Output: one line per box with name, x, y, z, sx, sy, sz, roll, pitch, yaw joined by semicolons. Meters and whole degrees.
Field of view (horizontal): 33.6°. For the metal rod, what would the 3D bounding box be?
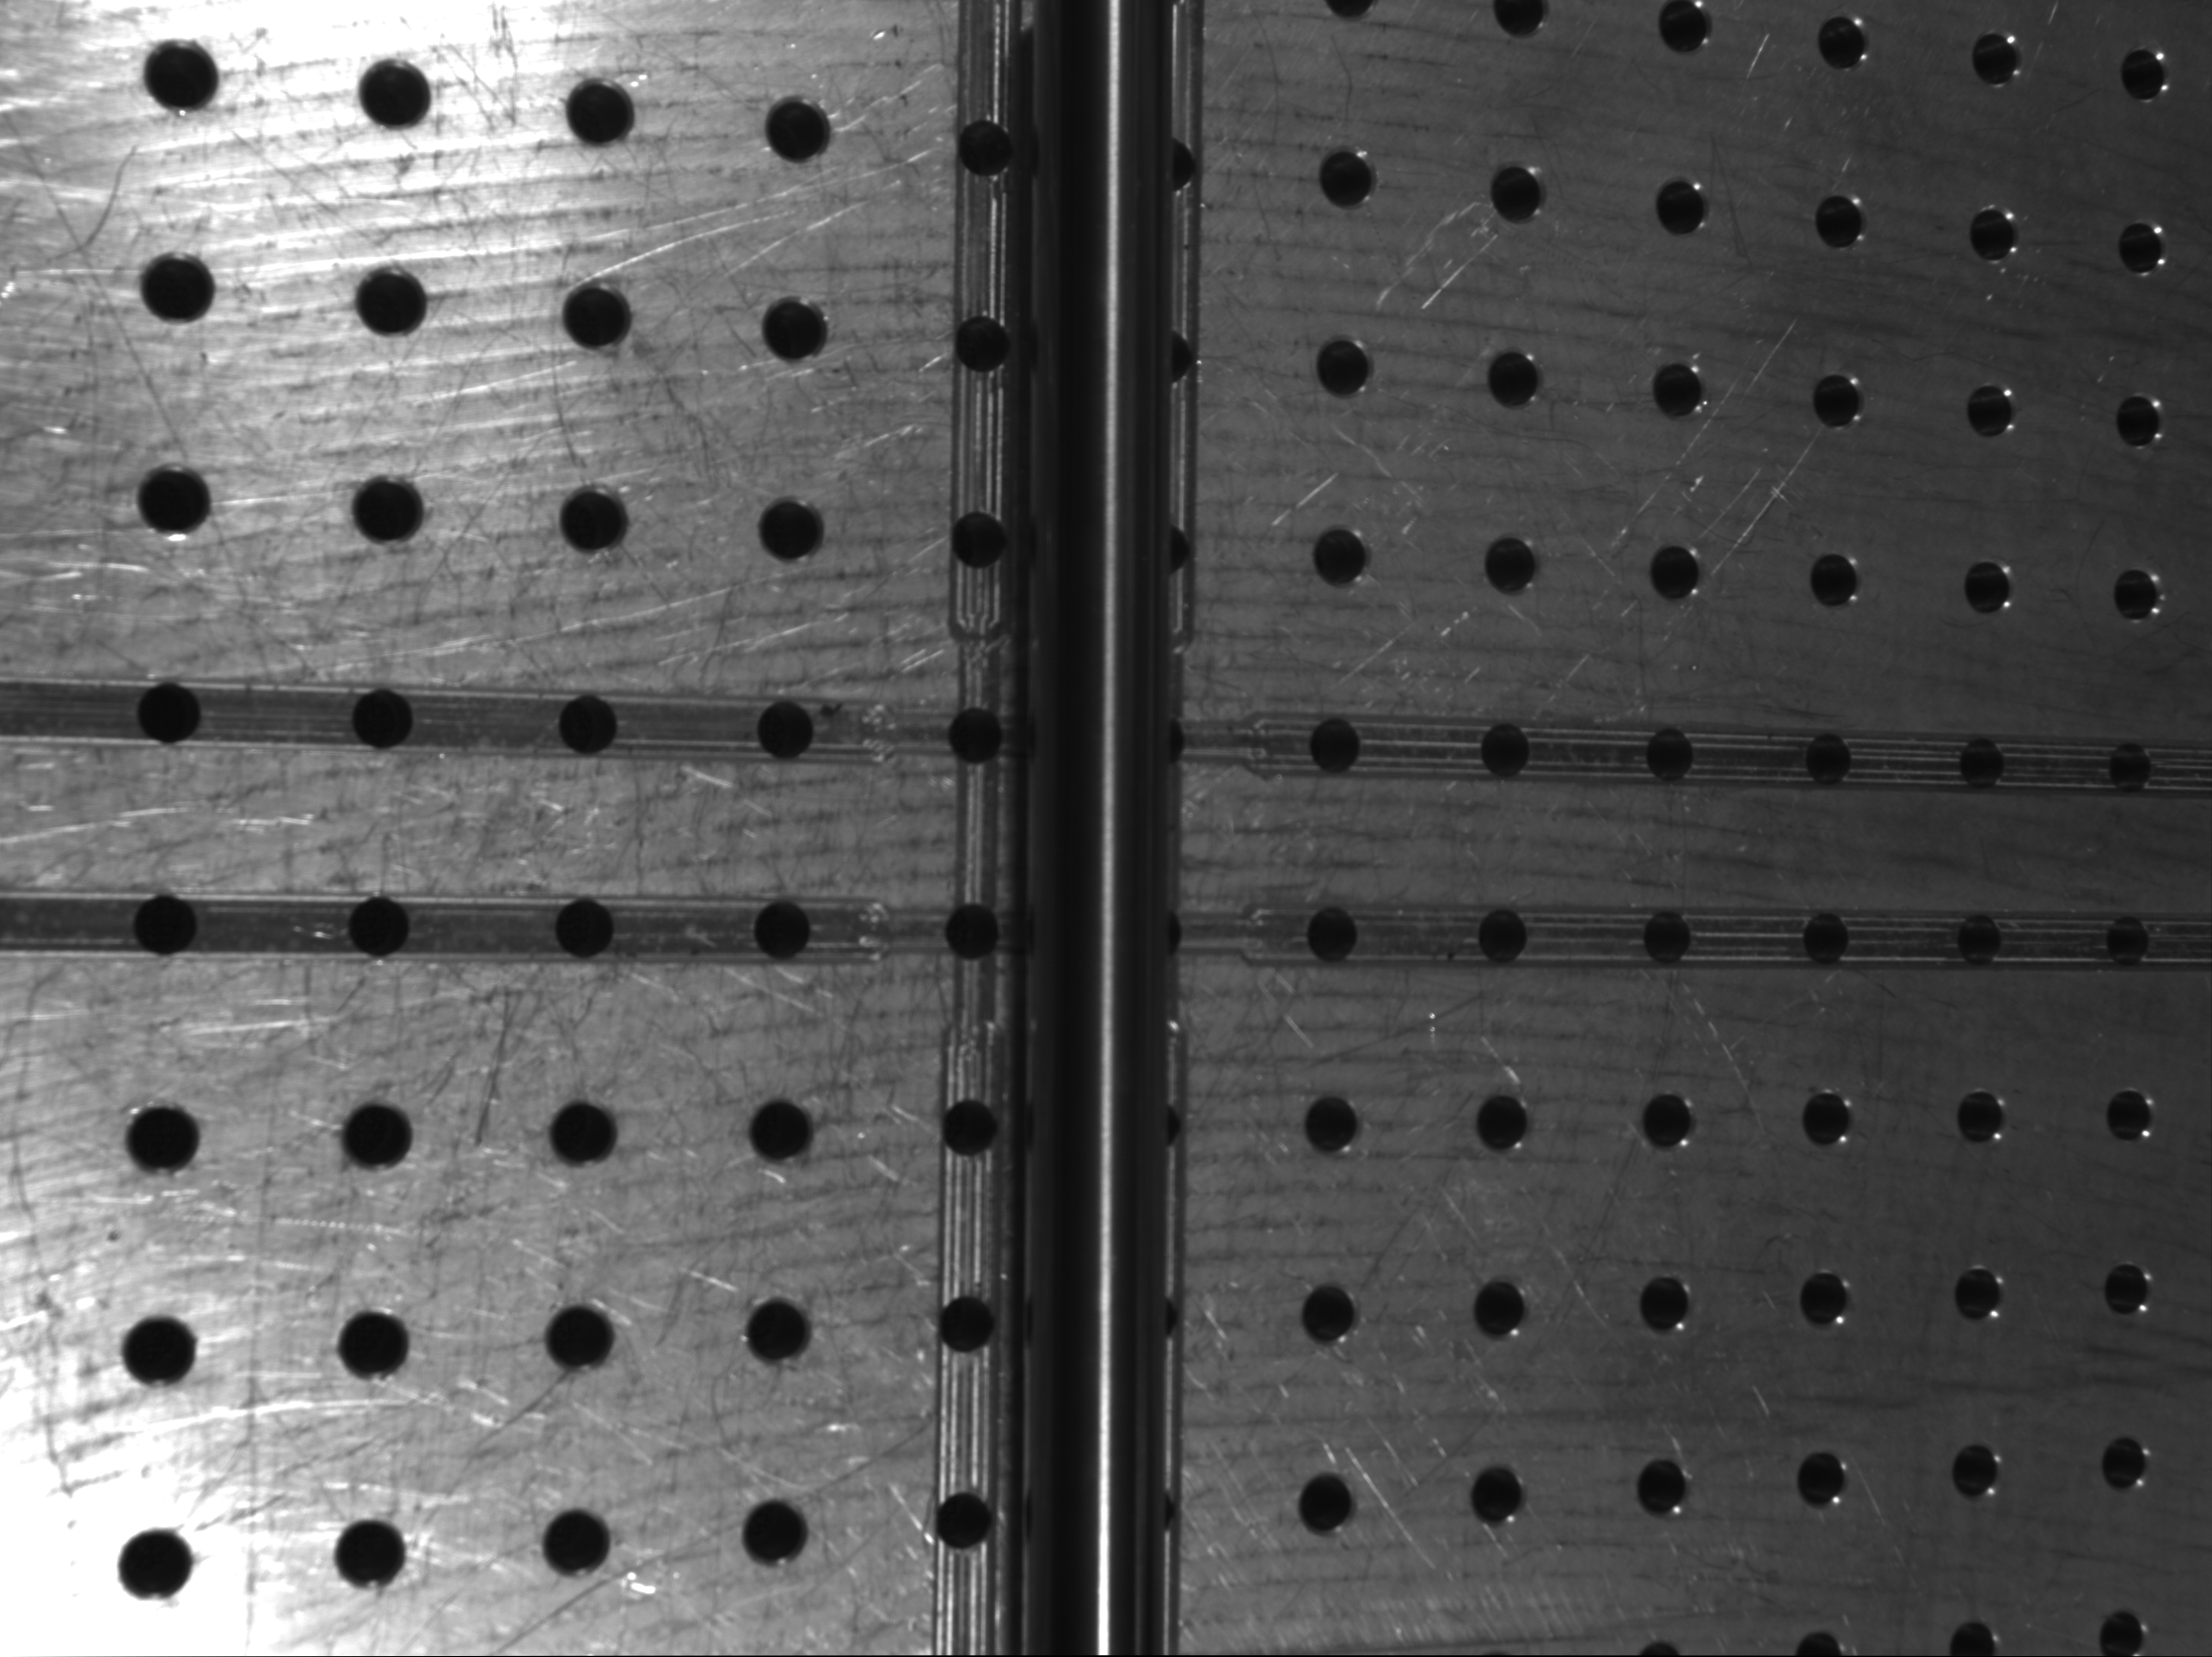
metal rod;0.004;0.004;0.647;0.025;0.025;0.300;1;90;-20
